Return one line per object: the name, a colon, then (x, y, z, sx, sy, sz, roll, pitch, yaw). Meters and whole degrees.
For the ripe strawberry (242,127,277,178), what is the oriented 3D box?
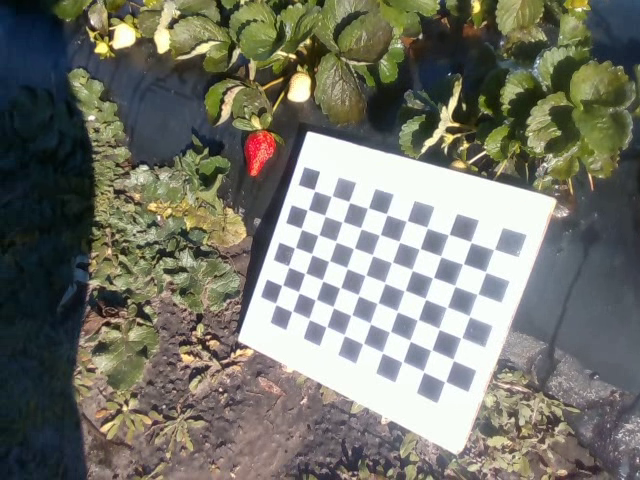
ripe strawberry: (-0.078, -0.108, 0.689, 0.048, 0.069, 0.040, 0, -12, 27)
